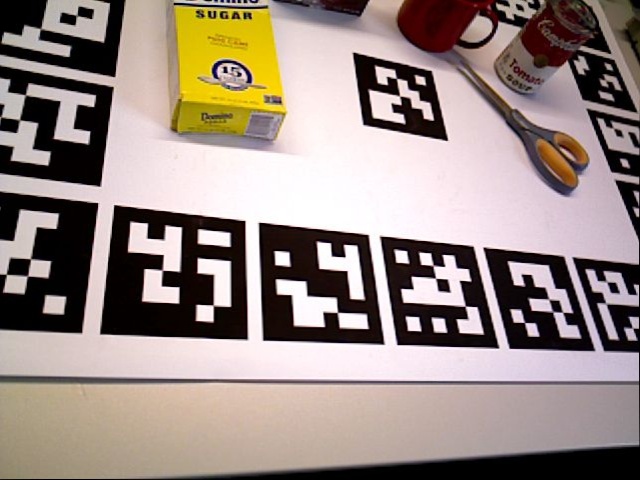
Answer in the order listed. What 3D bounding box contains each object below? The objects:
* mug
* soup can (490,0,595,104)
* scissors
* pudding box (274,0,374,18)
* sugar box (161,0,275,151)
[{"bbox_3d":[0.149,-0.267,0.623,0.091,0.083,0.117,-34,80,-30],"label":"mug"},{"bbox_3d":[0.260,-0.221,0.644,0.067,0.104,0.067,9,60,-18],"label":"soup can"},{"bbox_3d":[0.234,-0.123,0.626,0.086,0.016,0.203,-41,87,-23],"label":"scissors"},{"bbox_3d":[0.015,-0.284,0.565,0.112,0.092,0.038,-4,72,-25],"label":"pudding box"},{"bbox_3d":[-0.096,-0.168,0.497,0.091,0.046,0.175,1,67,-20],"label":"sugar box"}]
